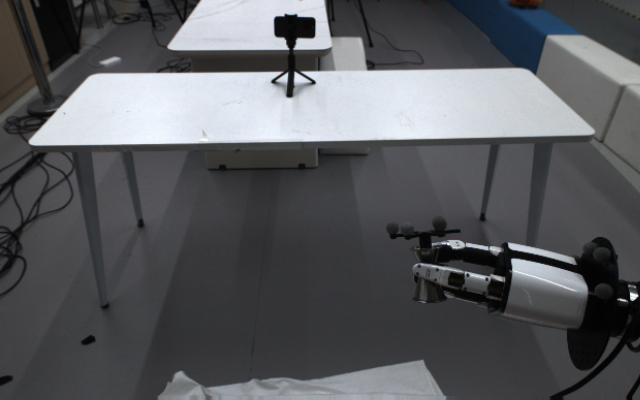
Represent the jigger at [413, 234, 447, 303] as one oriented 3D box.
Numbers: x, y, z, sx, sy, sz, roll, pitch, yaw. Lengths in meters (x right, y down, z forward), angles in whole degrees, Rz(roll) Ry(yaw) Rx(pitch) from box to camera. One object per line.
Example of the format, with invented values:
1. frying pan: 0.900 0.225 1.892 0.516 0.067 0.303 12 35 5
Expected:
1. jigger: 0.137 0.093 0.620 0.043 0.071 0.043 -4 1 0
